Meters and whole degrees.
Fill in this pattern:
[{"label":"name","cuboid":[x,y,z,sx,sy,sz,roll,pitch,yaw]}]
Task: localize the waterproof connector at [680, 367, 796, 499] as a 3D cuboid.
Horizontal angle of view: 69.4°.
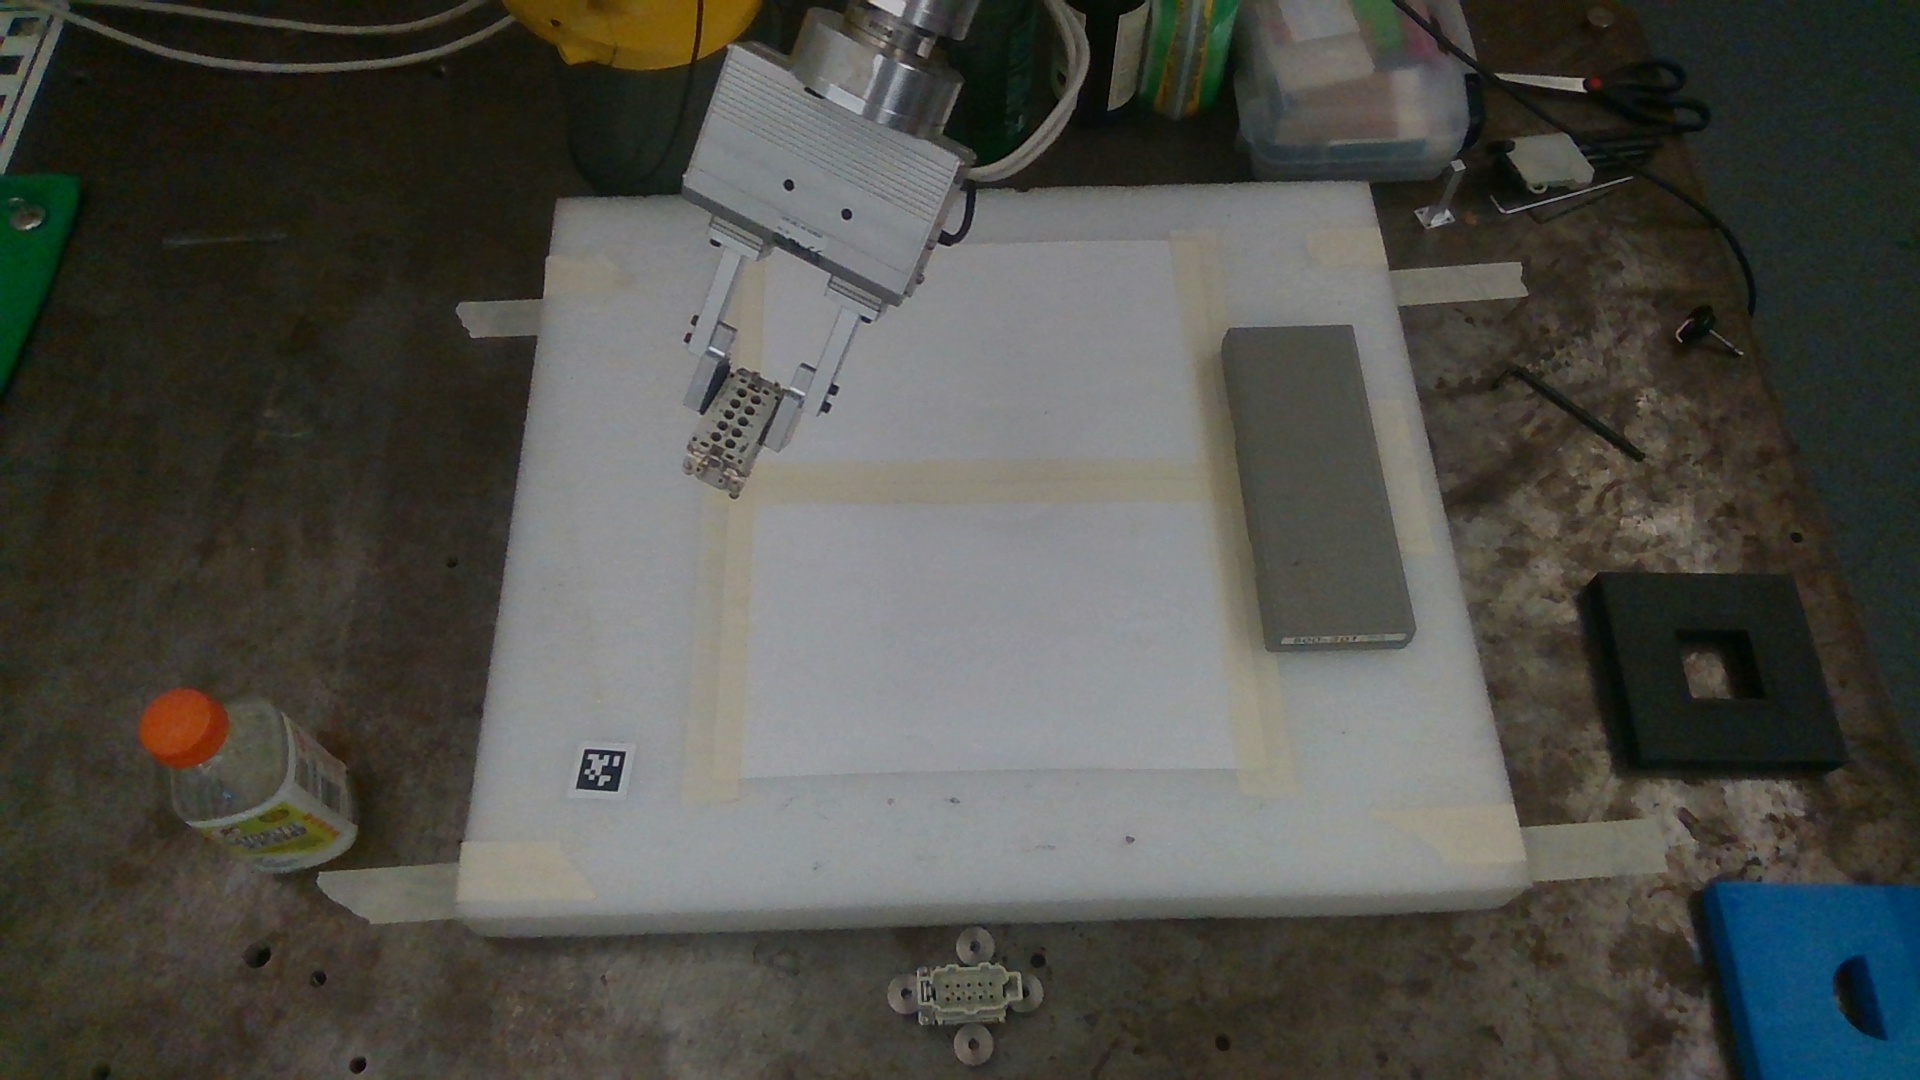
[{"label":"waterproof connector","cuboid":[-0.118,-0.058,0.733,0.037,0.038,0.069,27,73,1]}]
